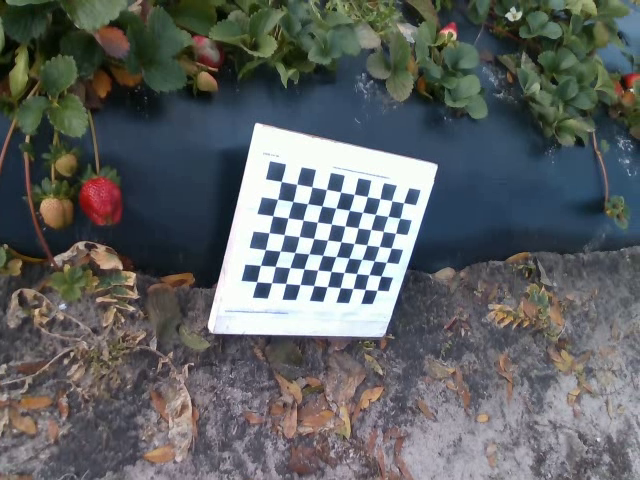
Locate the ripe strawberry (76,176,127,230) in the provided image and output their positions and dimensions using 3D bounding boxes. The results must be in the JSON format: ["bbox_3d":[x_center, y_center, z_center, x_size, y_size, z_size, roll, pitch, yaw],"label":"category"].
[{"bbox_3d":[-0.260,-0.046,0.754,0.067,0.074,0.053,-13,26,-27],"label":"ripe strawberry"}]
